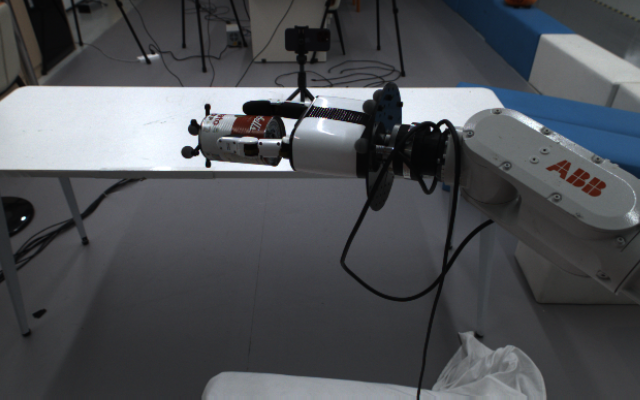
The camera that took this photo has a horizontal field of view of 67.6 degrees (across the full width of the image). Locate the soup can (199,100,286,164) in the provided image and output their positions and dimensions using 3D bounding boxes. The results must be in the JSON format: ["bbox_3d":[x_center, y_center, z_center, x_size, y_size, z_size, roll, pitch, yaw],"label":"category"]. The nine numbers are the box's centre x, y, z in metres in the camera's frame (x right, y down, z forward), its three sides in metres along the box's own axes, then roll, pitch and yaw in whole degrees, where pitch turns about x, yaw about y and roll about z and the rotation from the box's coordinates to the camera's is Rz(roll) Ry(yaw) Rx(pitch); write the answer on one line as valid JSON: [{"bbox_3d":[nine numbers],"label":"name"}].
[{"bbox_3d":[-0.105,-0.083,0.668,0.101,0.067,0.067,6,34,18],"label":"soup can"}]
